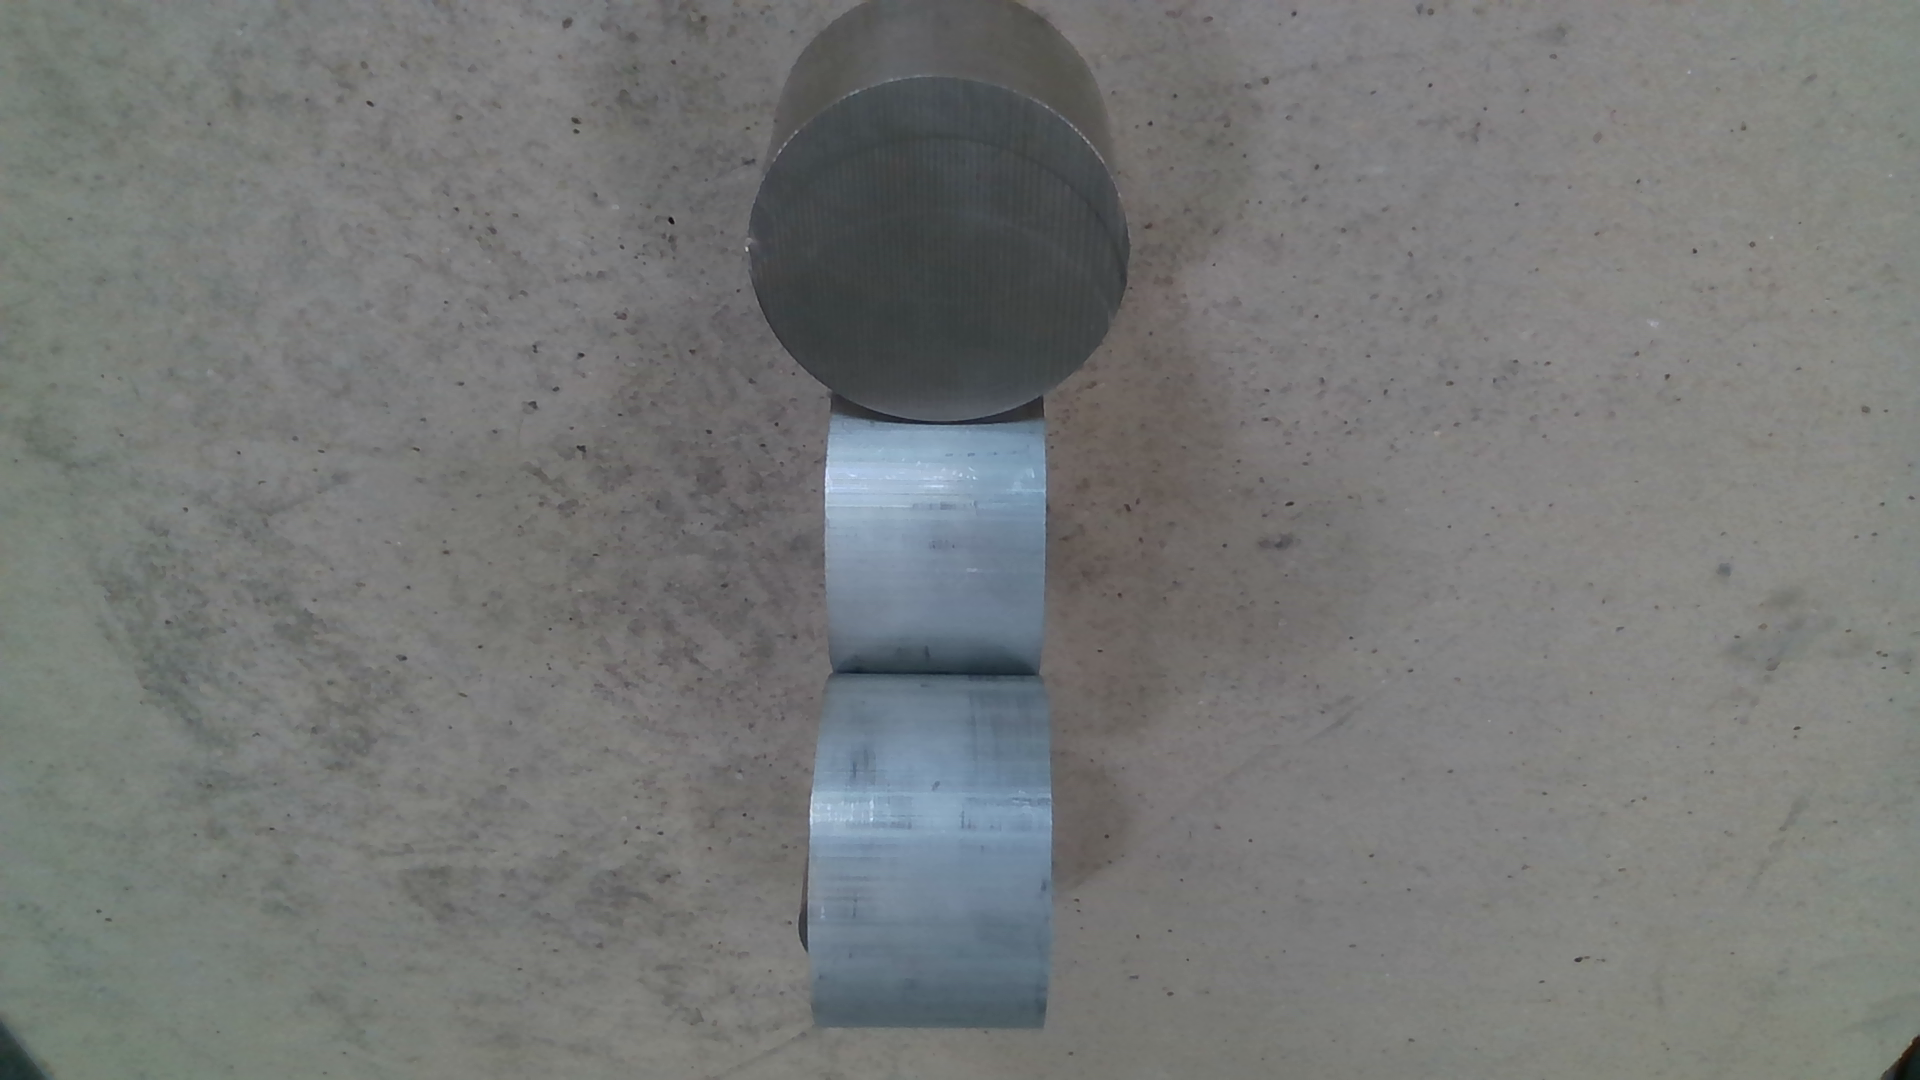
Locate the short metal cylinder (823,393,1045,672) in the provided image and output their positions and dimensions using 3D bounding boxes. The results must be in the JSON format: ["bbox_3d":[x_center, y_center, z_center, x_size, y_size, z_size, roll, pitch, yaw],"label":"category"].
[{"bbox_3d":[-0.006,-0.004,0.350,0.050,0.080,0.080,0,130,0],"label":"short metal cylinder"}]

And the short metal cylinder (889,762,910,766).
[{"bbox_3d":[-0.007,0.057,0.402,0.050,0.080,0.080,0,130,-1],"label":"short metal cylinder"}]

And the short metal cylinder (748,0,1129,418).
[{"bbox_3d":[-0.004,-0.075,0.310,0.080,0.050,0.080,0,131,0],"label":"short metal cylinder"}]

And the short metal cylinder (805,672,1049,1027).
[{"bbox_3d":[-0.007,0.072,0.323,0.050,0.080,0.080,1,130,0],"label":"short metal cylinder"}]

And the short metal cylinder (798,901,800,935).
[{"bbox_3d":[-0.012,0.110,0.465,0.080,0.050,0.080,0,131,0],"label":"short metal cylinder"}]
